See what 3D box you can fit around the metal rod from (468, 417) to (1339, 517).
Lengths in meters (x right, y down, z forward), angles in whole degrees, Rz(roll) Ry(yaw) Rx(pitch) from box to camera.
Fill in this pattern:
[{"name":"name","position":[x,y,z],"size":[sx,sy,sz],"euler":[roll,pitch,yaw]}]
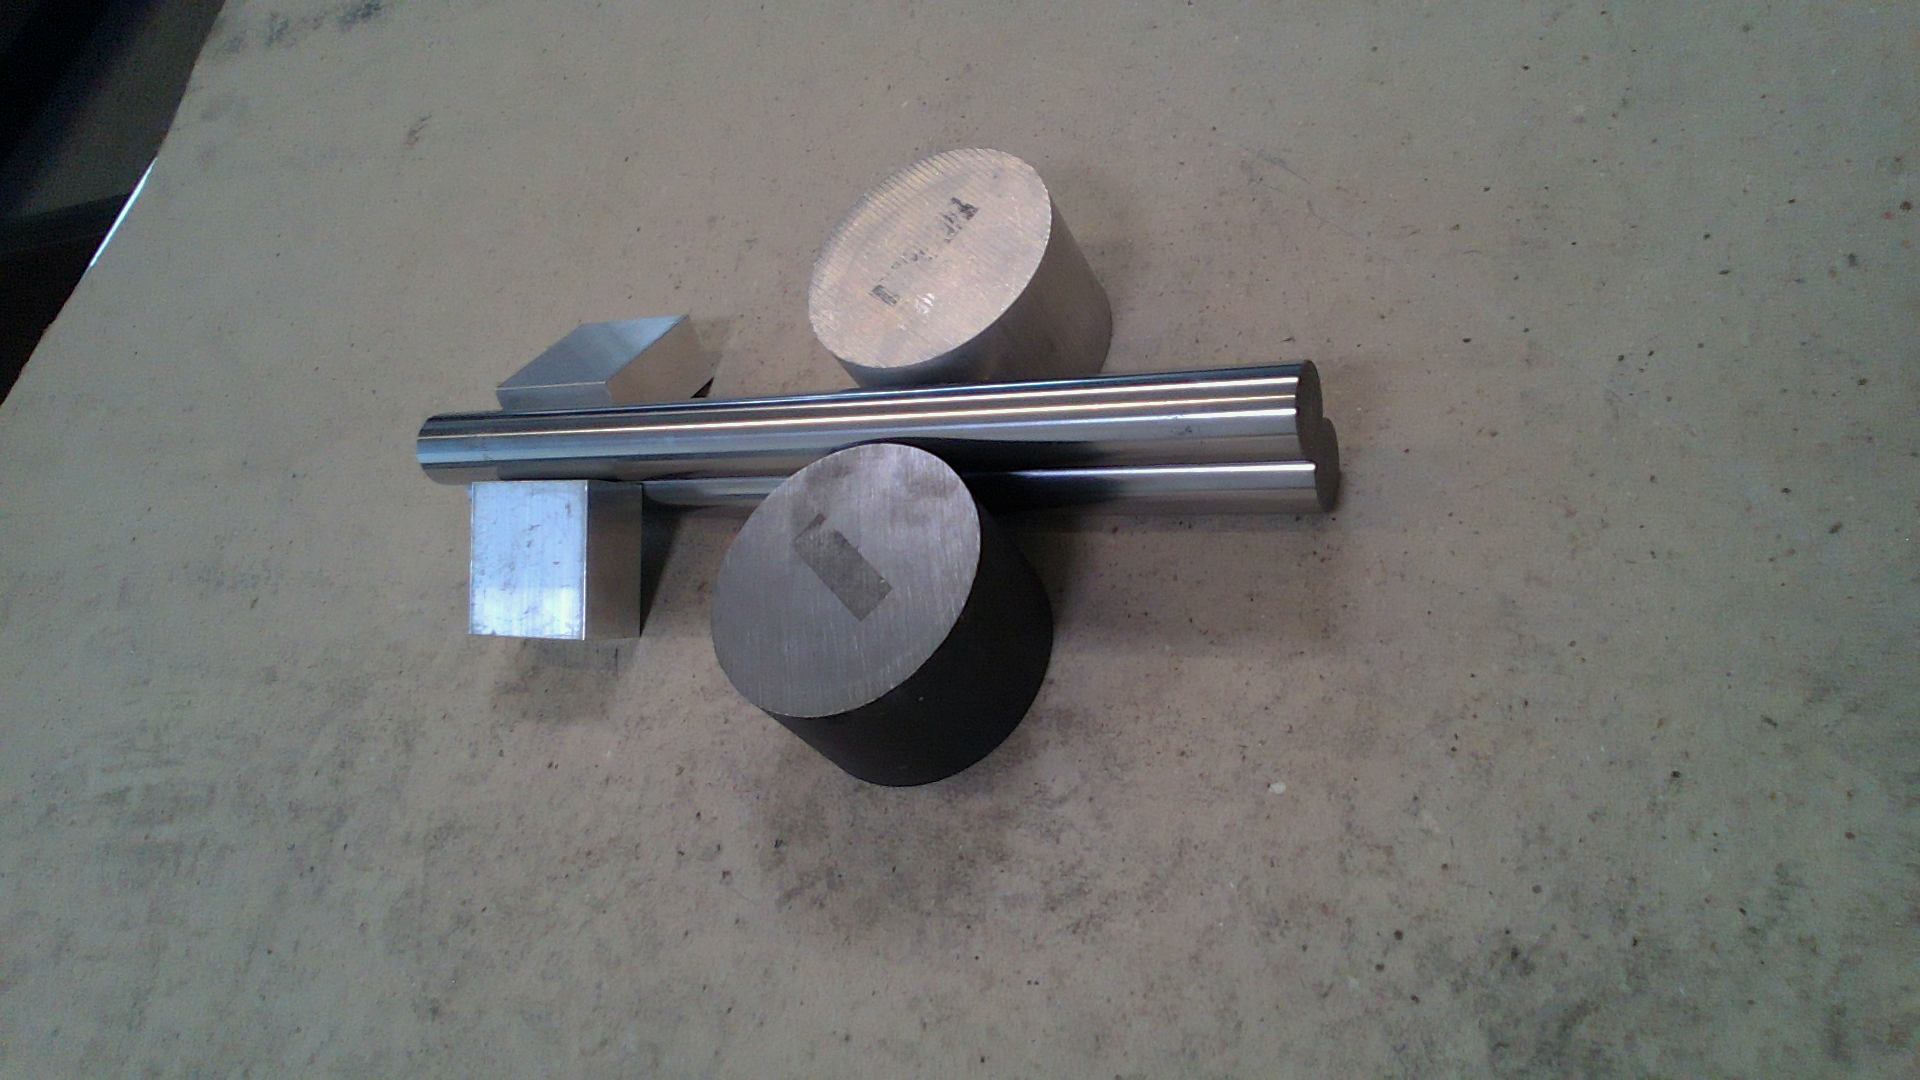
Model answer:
[{"name":"metal rod","position":[-0.037,-0.020,0.426],"size":[0.299,0.025,0.025],"euler":[0,62,28]}]

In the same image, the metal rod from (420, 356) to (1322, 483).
[{"name":"metal rod","position":[-0.046,-0.032,0.407],"size":[0.299,0.025,0.025],"euler":[0,62,29]}]

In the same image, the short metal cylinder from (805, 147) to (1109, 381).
[{"name":"short metal cylinder","position":[0.000,-0.072,0.422],"size":[0.080,0.050,0.080],"euler":[-13,56,21]}]

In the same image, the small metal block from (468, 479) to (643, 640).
[{"name":"small metal block","position":[-0.132,0.006,0.449],"size":[0.050,0.025,0.050],"euler":[1,88,28]}]

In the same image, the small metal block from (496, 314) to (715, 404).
[{"name":"small metal block","position":[-0.123,-0.055,0.482],"size":[0.050,0.025,0.050],"euler":[0,34,29]}]

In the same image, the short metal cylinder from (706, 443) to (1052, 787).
[{"name":"short metal cylinder","position":[-0.021,0.021,0.376],"size":[0.080,0.050,0.080],"euler":[-13,56,21]}]
